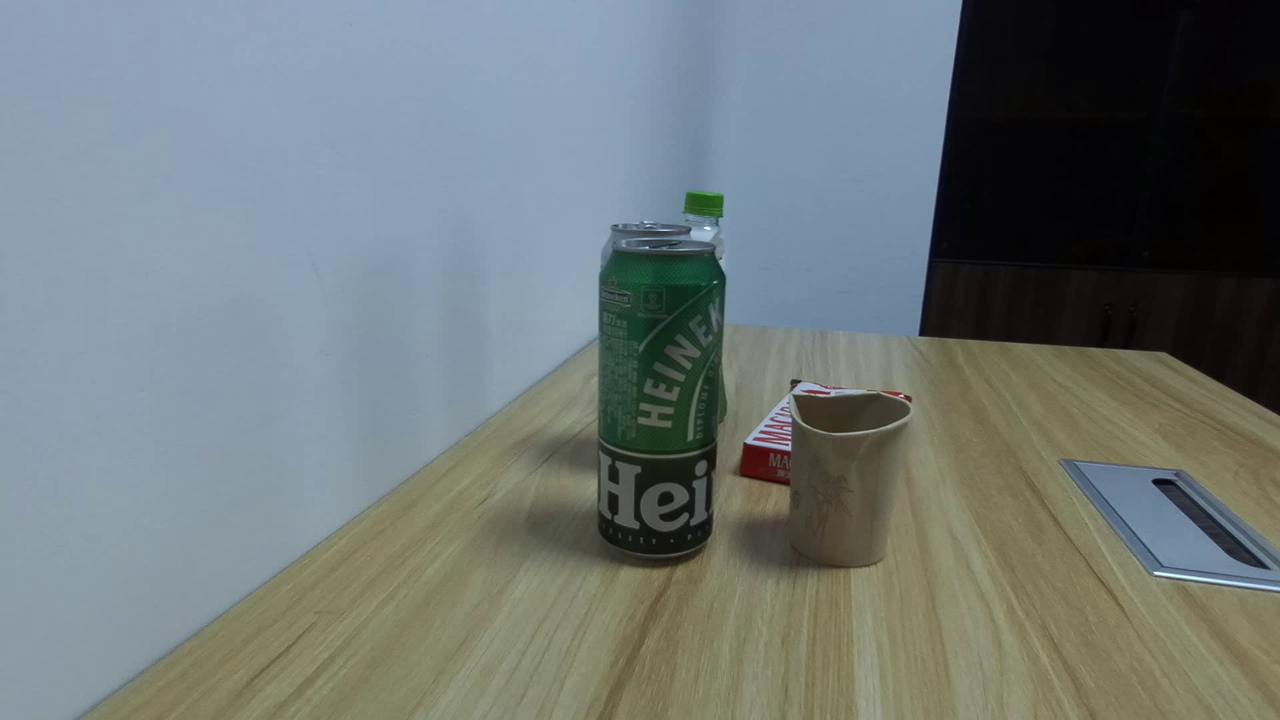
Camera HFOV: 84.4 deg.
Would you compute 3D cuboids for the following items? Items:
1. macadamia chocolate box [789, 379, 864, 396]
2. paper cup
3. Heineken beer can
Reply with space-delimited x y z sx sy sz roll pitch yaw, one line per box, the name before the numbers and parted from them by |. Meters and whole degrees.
macadamia chocolate box | 0.151 0.053 0.549 0.105 0.028 0.183 9 17 23
paper cup | 0.116 0.066 0.391 0.072 0.084 0.066 -1 16 -7
Heineken beer can | 0.011 0.022 0.386 0.067 0.169 0.067 1 15 0
